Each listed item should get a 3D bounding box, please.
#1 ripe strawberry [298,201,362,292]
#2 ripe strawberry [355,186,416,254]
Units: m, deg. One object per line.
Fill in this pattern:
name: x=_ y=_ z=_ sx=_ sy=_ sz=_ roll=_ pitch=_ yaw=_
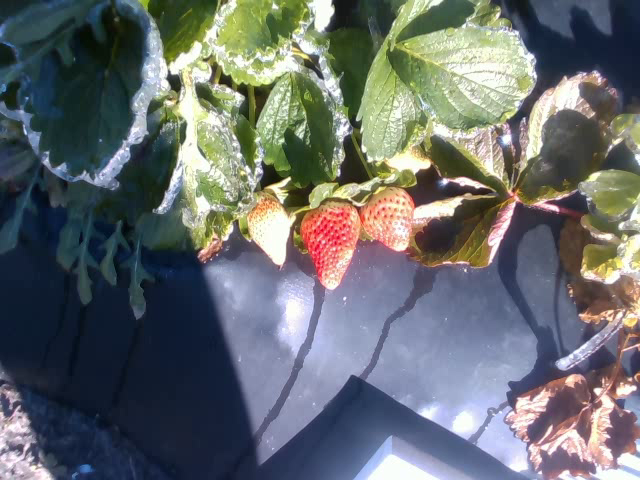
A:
ripe strawberry: x=0.007 y=0.007 z=0.343 sx=0.036 sy=0.052 sz=0.040 roll=-6 pitch=-13 yaw=10
ripe strawberry: x=0.042 y=-0.011 z=0.349 sx=0.036 sy=0.041 sz=0.030 roll=-29 pitch=13 yaw=19
